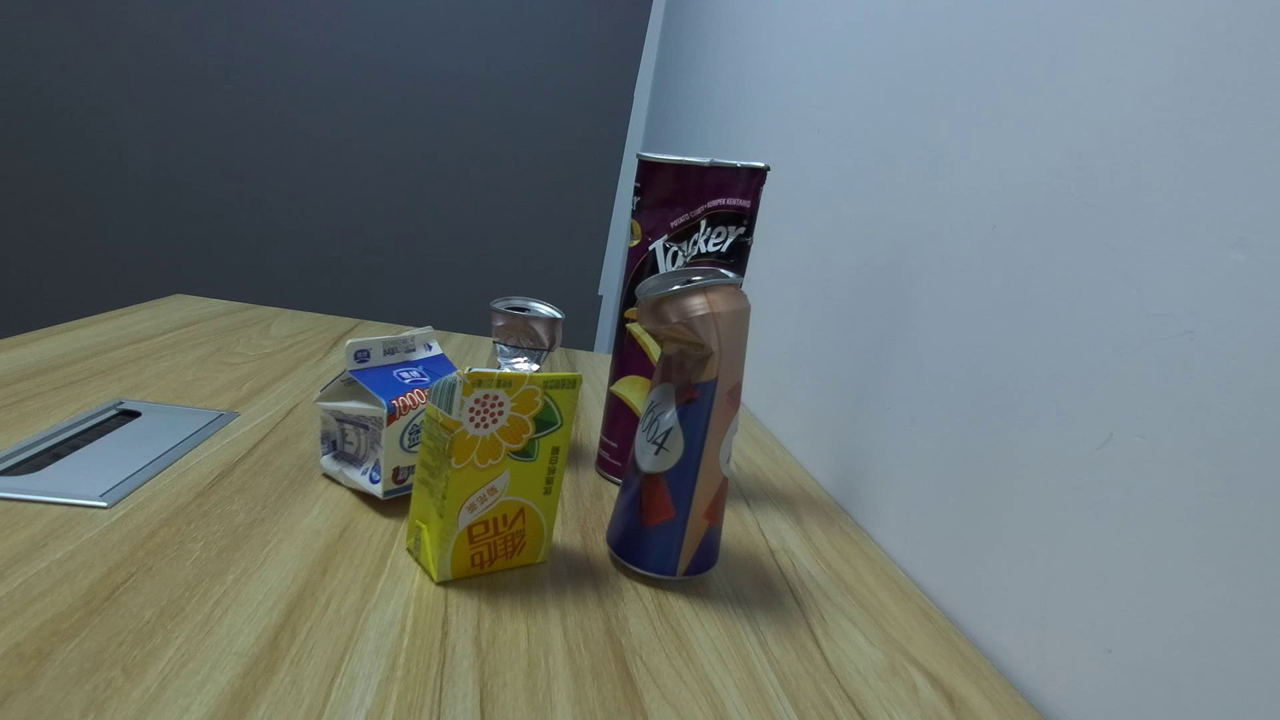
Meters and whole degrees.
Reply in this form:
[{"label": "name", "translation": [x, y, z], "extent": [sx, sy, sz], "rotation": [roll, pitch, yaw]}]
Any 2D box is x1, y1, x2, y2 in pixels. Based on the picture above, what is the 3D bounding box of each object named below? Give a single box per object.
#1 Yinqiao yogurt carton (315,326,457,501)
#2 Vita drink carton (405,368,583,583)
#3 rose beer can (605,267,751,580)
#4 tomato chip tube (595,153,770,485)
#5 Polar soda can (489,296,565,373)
[{"label": "Yinqiao yogurt carton", "translation": [-0.154, 0.029, 0.437], "extent": [0.080, 0.097, 0.075], "rotation": [7, 8, 29]}, {"label": "Vita drink carton", "translation": [-0.076, 0.051, 0.362], "extent": [0.072, 0.109, 0.046], "rotation": [2, 16, -40]}, {"label": "rose beer can", "translation": [0.022, 0.035, 0.383], "extent": [0.069, 0.168, 0.070], "rotation": [13, 16, 29]}, {"label": "tomato chip tube", "translation": [0.020, -0.026, 0.502], "extent": [0.078, 0.235, 0.090], "rotation": [9, 12, -9]}, {"label": "Polar soda can", "translation": [-0.090, 0.014, 0.527], "extent": [0.074, 0.114, 0.070], "rotation": [14, 12, 37]}]
